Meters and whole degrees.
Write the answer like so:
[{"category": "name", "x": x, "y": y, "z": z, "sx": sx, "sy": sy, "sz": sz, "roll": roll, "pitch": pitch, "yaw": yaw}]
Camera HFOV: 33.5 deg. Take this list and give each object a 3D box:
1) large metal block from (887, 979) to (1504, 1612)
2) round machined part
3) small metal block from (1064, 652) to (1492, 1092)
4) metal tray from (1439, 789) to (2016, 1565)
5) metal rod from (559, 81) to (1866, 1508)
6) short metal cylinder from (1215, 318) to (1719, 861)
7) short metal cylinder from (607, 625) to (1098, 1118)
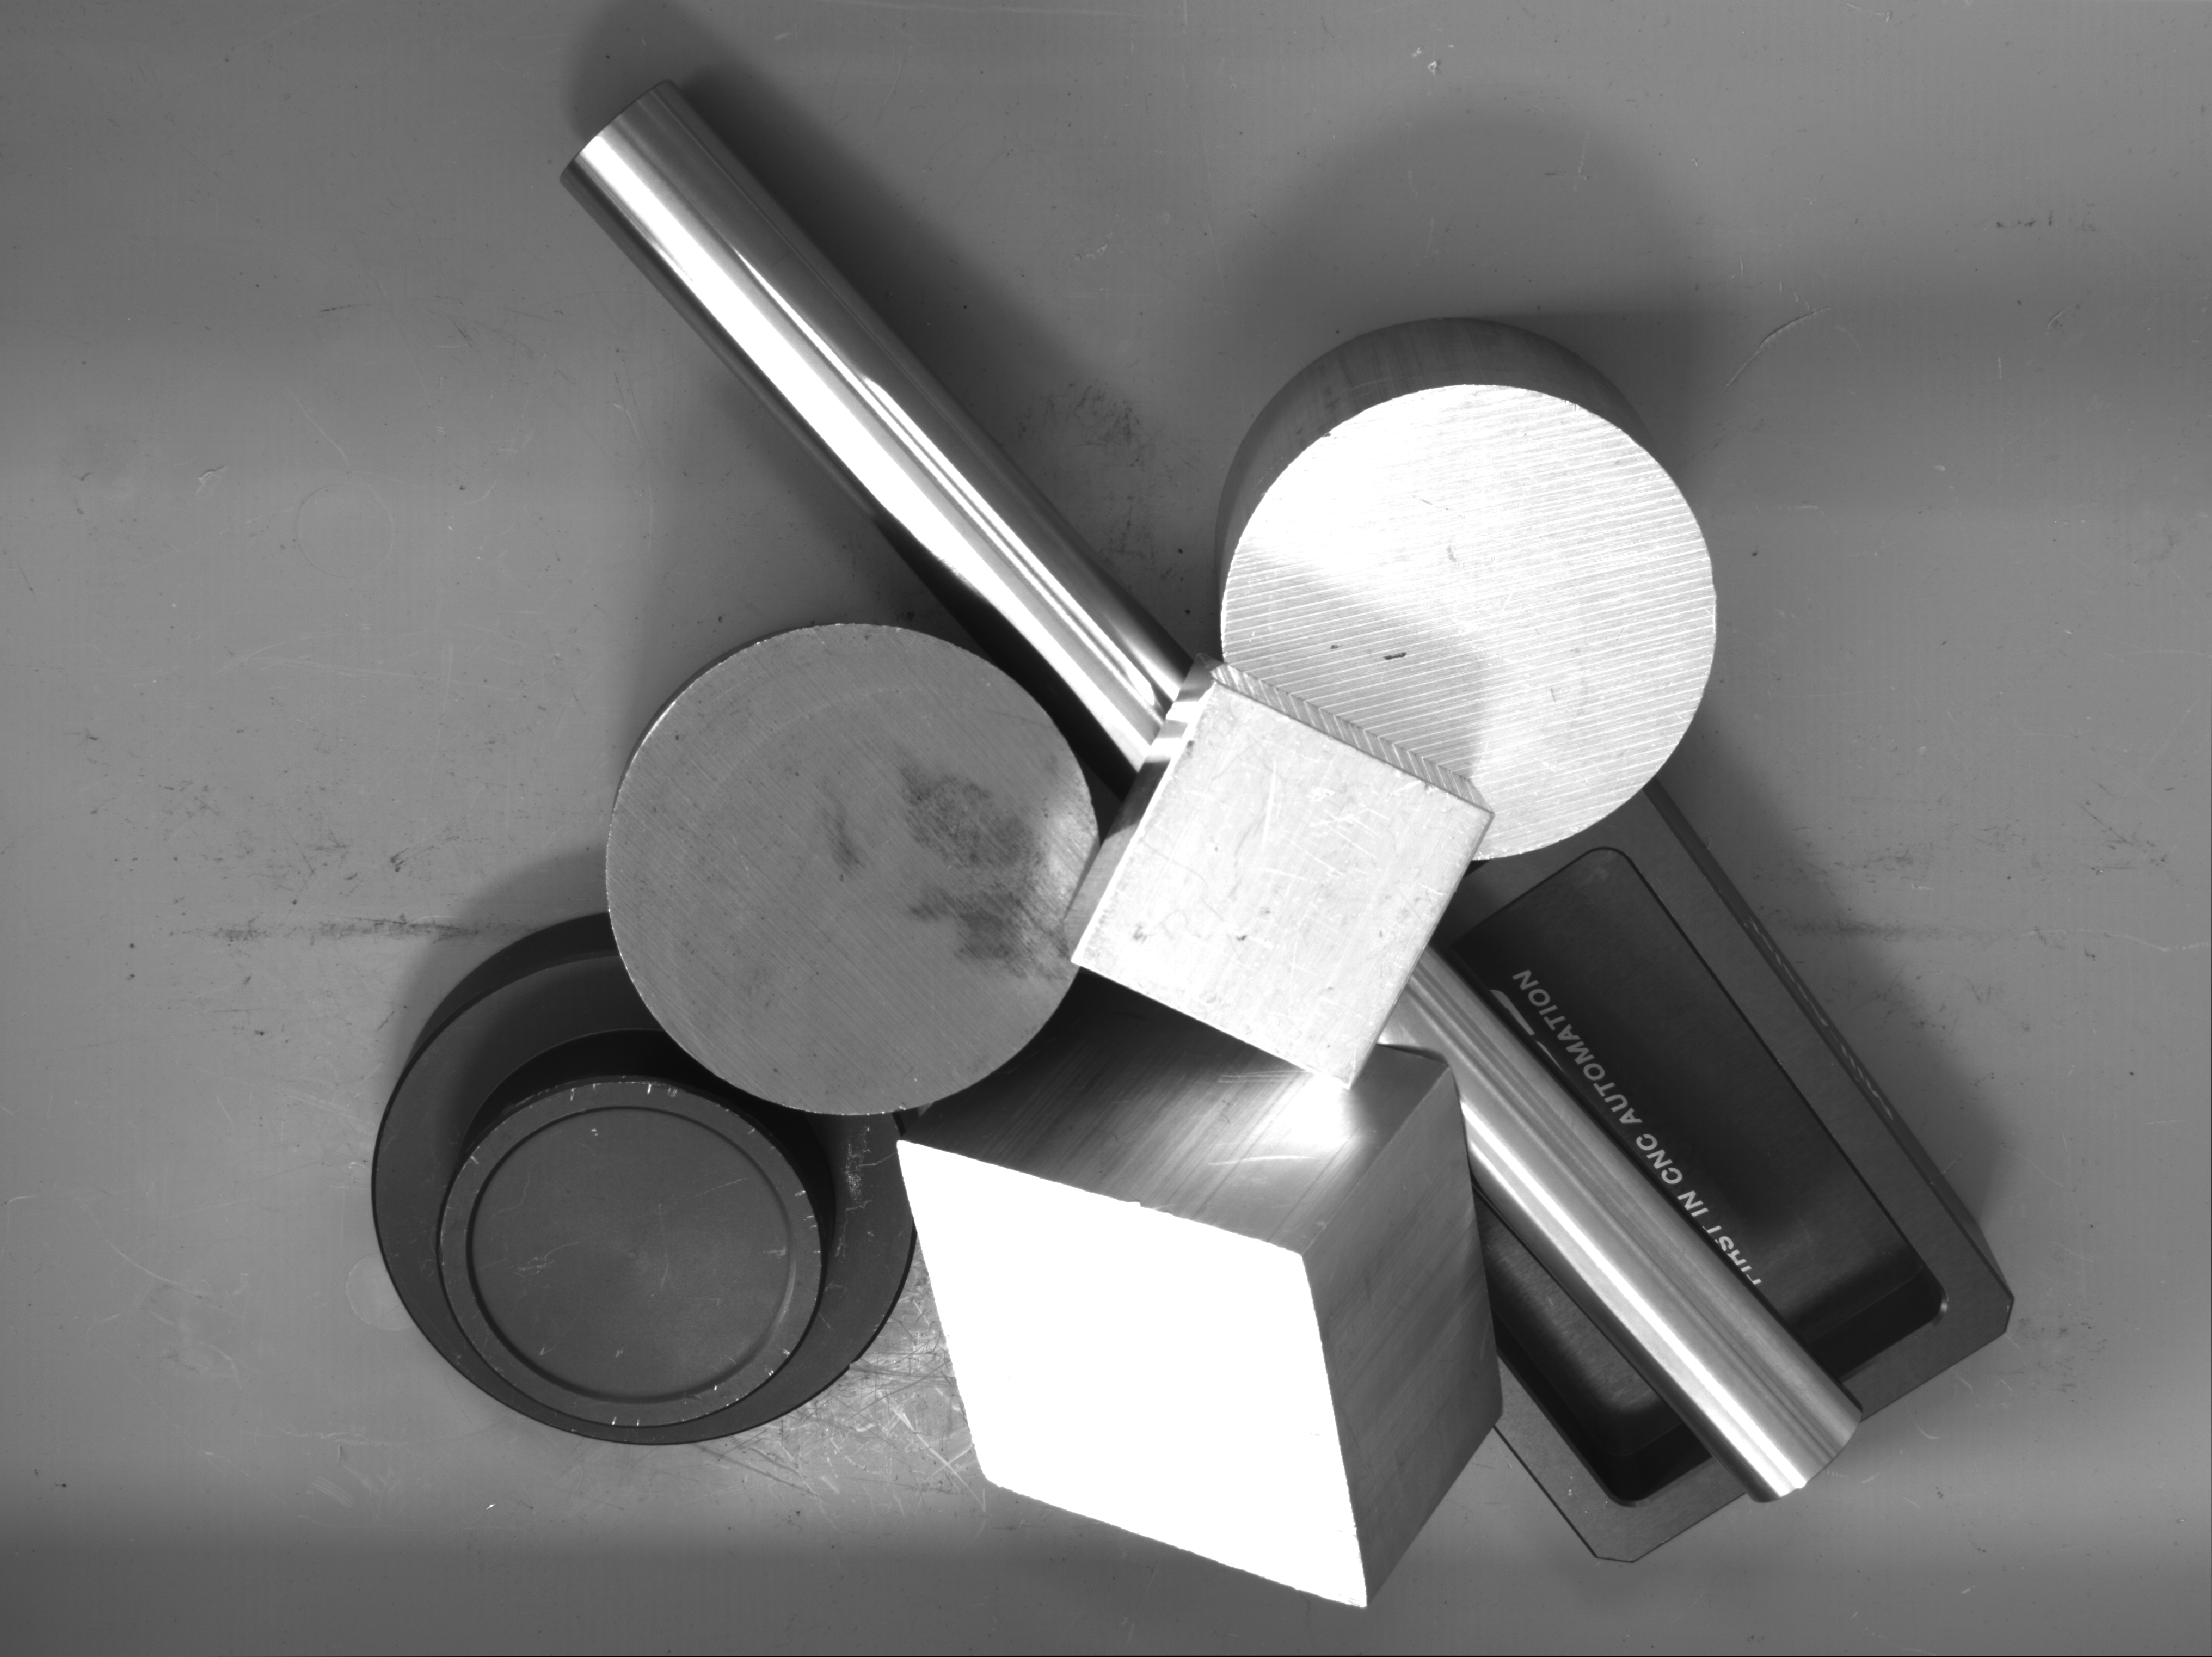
[{"category": "large metal block", "x": 0.017, "y": 0.078, "z": 0.630, "sx": 0.080, "sy": 0.050, "sz": 0.080, "roll": 12, "pitch": 130, "yaw": 31}, {"category": "round machined part", "x": -0.083, "y": 0.068, "z": 0.658, "sx": 0.098, "sy": 0.042, "sz": 0.098, "roll": 0, "pitch": 110, "yaw": 0}, {"category": "small metal block", "x": 0.027, "y": 0.007, "z": 0.589, "sx": 0.050, "sy": 0.025, "sz": 0.050, "roll": 25, "pitch": 100, "yaw": -8}, {"category": "metal tray", "x": 0.091, "y": 0.059, "z": 0.661, "sx": 0.090, "sy": 0.030, "sz": 0.130, "roll": -35, "pitch": 106, "yaw": 12}, {"category": "metal rod", "x": 0.020, "y": -0.003, "z": 0.615, "sx": 0.025, "sy": 0.025, "sz": 0.300, "roll": -41, "pitch": 96, "yaw": 13}, {"category": "short metal cylinder", "x": 0.059, "y": -0.041, "z": 0.615, "sx": 0.080, "sy": 0.050, "sz": 0.080, "roll": 0, "pitch": 110, "yaw": 0}, {"category": "short metal cylinder", "x": -0.044, "y": 0.006, "z": 0.620, "sx": 0.080, "sy": 0.050, "sz": 0.080, "roll": 0, "pitch": 94, "yaw": -8}]
